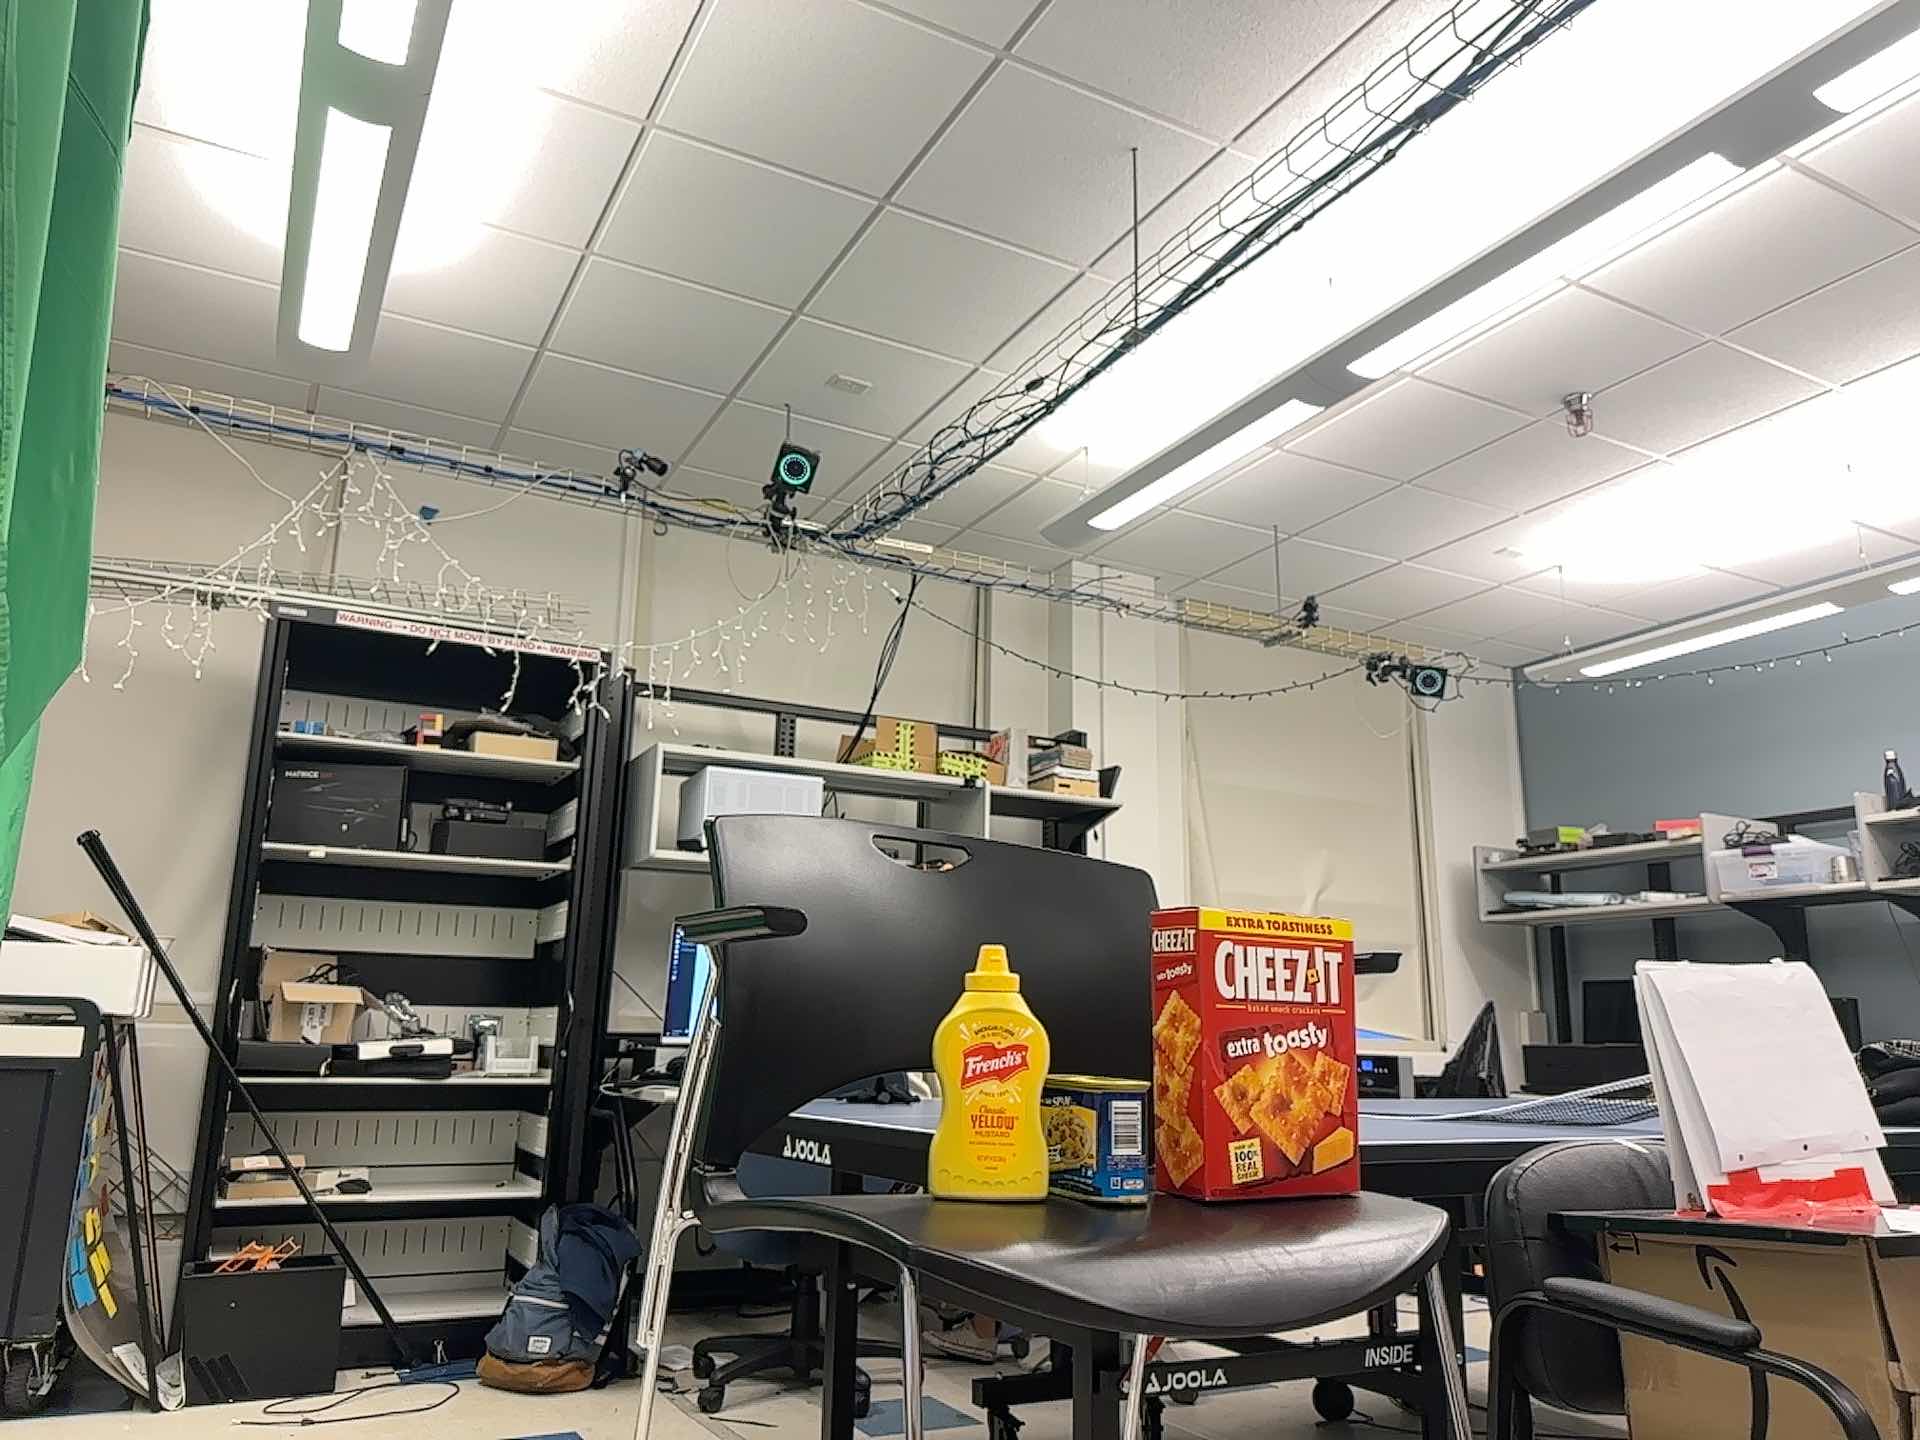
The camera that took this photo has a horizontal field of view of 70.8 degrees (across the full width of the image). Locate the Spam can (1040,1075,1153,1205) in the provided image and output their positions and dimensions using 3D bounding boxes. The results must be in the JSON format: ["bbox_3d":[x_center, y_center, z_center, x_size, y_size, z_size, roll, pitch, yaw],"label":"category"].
[{"bbox_3d":[0.100,0.318,1.032,0.056,0.083,0.100,9,-13,-24],"label":"Spam can"}]

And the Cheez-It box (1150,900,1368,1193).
[{"bbox_3d":[0.242,0.261,1.094,0.159,0.214,0.062,7,-15,-26],"label":"Cheez-It box"}]

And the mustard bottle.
[{"bbox_3d":[0.020,0.260,1.007,0.092,0.184,0.054,5,-11,-10],"label":"mustard bottle"}]
